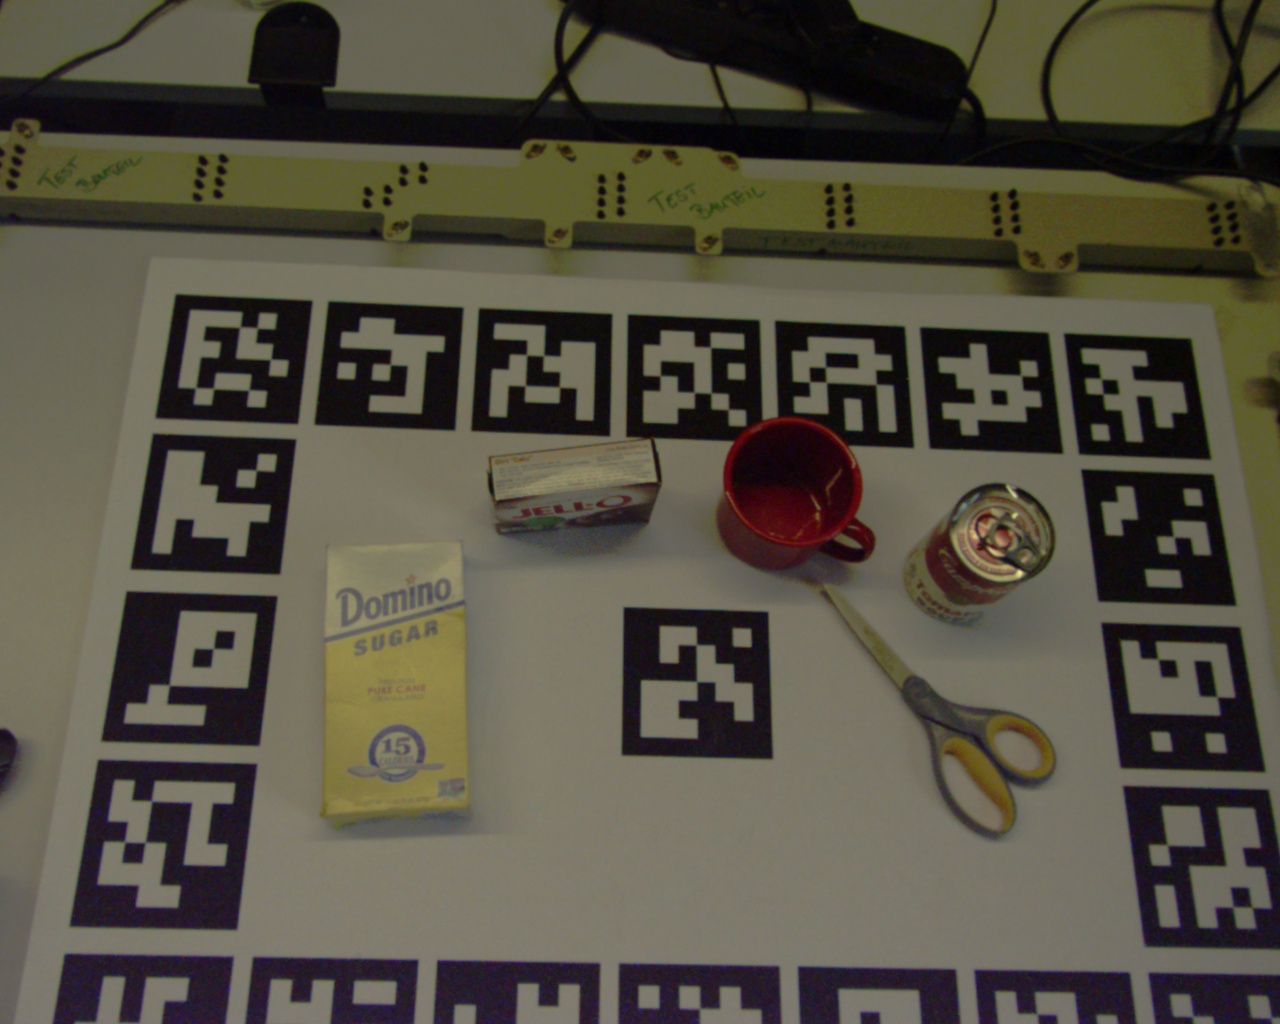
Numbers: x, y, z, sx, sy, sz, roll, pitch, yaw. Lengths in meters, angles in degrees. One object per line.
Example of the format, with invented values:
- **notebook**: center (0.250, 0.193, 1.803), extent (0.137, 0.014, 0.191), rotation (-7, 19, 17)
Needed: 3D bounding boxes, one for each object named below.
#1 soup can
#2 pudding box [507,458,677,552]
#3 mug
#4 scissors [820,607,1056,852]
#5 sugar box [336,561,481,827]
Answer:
- **soup can**: center (0.227, 0.040, 0.804), extent (0.068, 0.102, 0.068), rotation (1, 72, -3)
- **pudding box**: center (-0.036, -0.004, 0.798), extent (0.113, 0.090, 0.039), rotation (-8, 80, -7)
- **mug**: center (0.112, 0.000, 0.813), extent (0.093, 0.081, 0.118), rotation (-35, 77, -10)
- **scissors**: center (0.202, 0.141, 0.806), extent (0.087, 0.016, 0.203), rotation (-42, 80, -4)
- **sugar box**: center (-0.158, 0.124, 0.782), extent (0.093, 0.045, 0.177), rotation (-2, 74, -2)
